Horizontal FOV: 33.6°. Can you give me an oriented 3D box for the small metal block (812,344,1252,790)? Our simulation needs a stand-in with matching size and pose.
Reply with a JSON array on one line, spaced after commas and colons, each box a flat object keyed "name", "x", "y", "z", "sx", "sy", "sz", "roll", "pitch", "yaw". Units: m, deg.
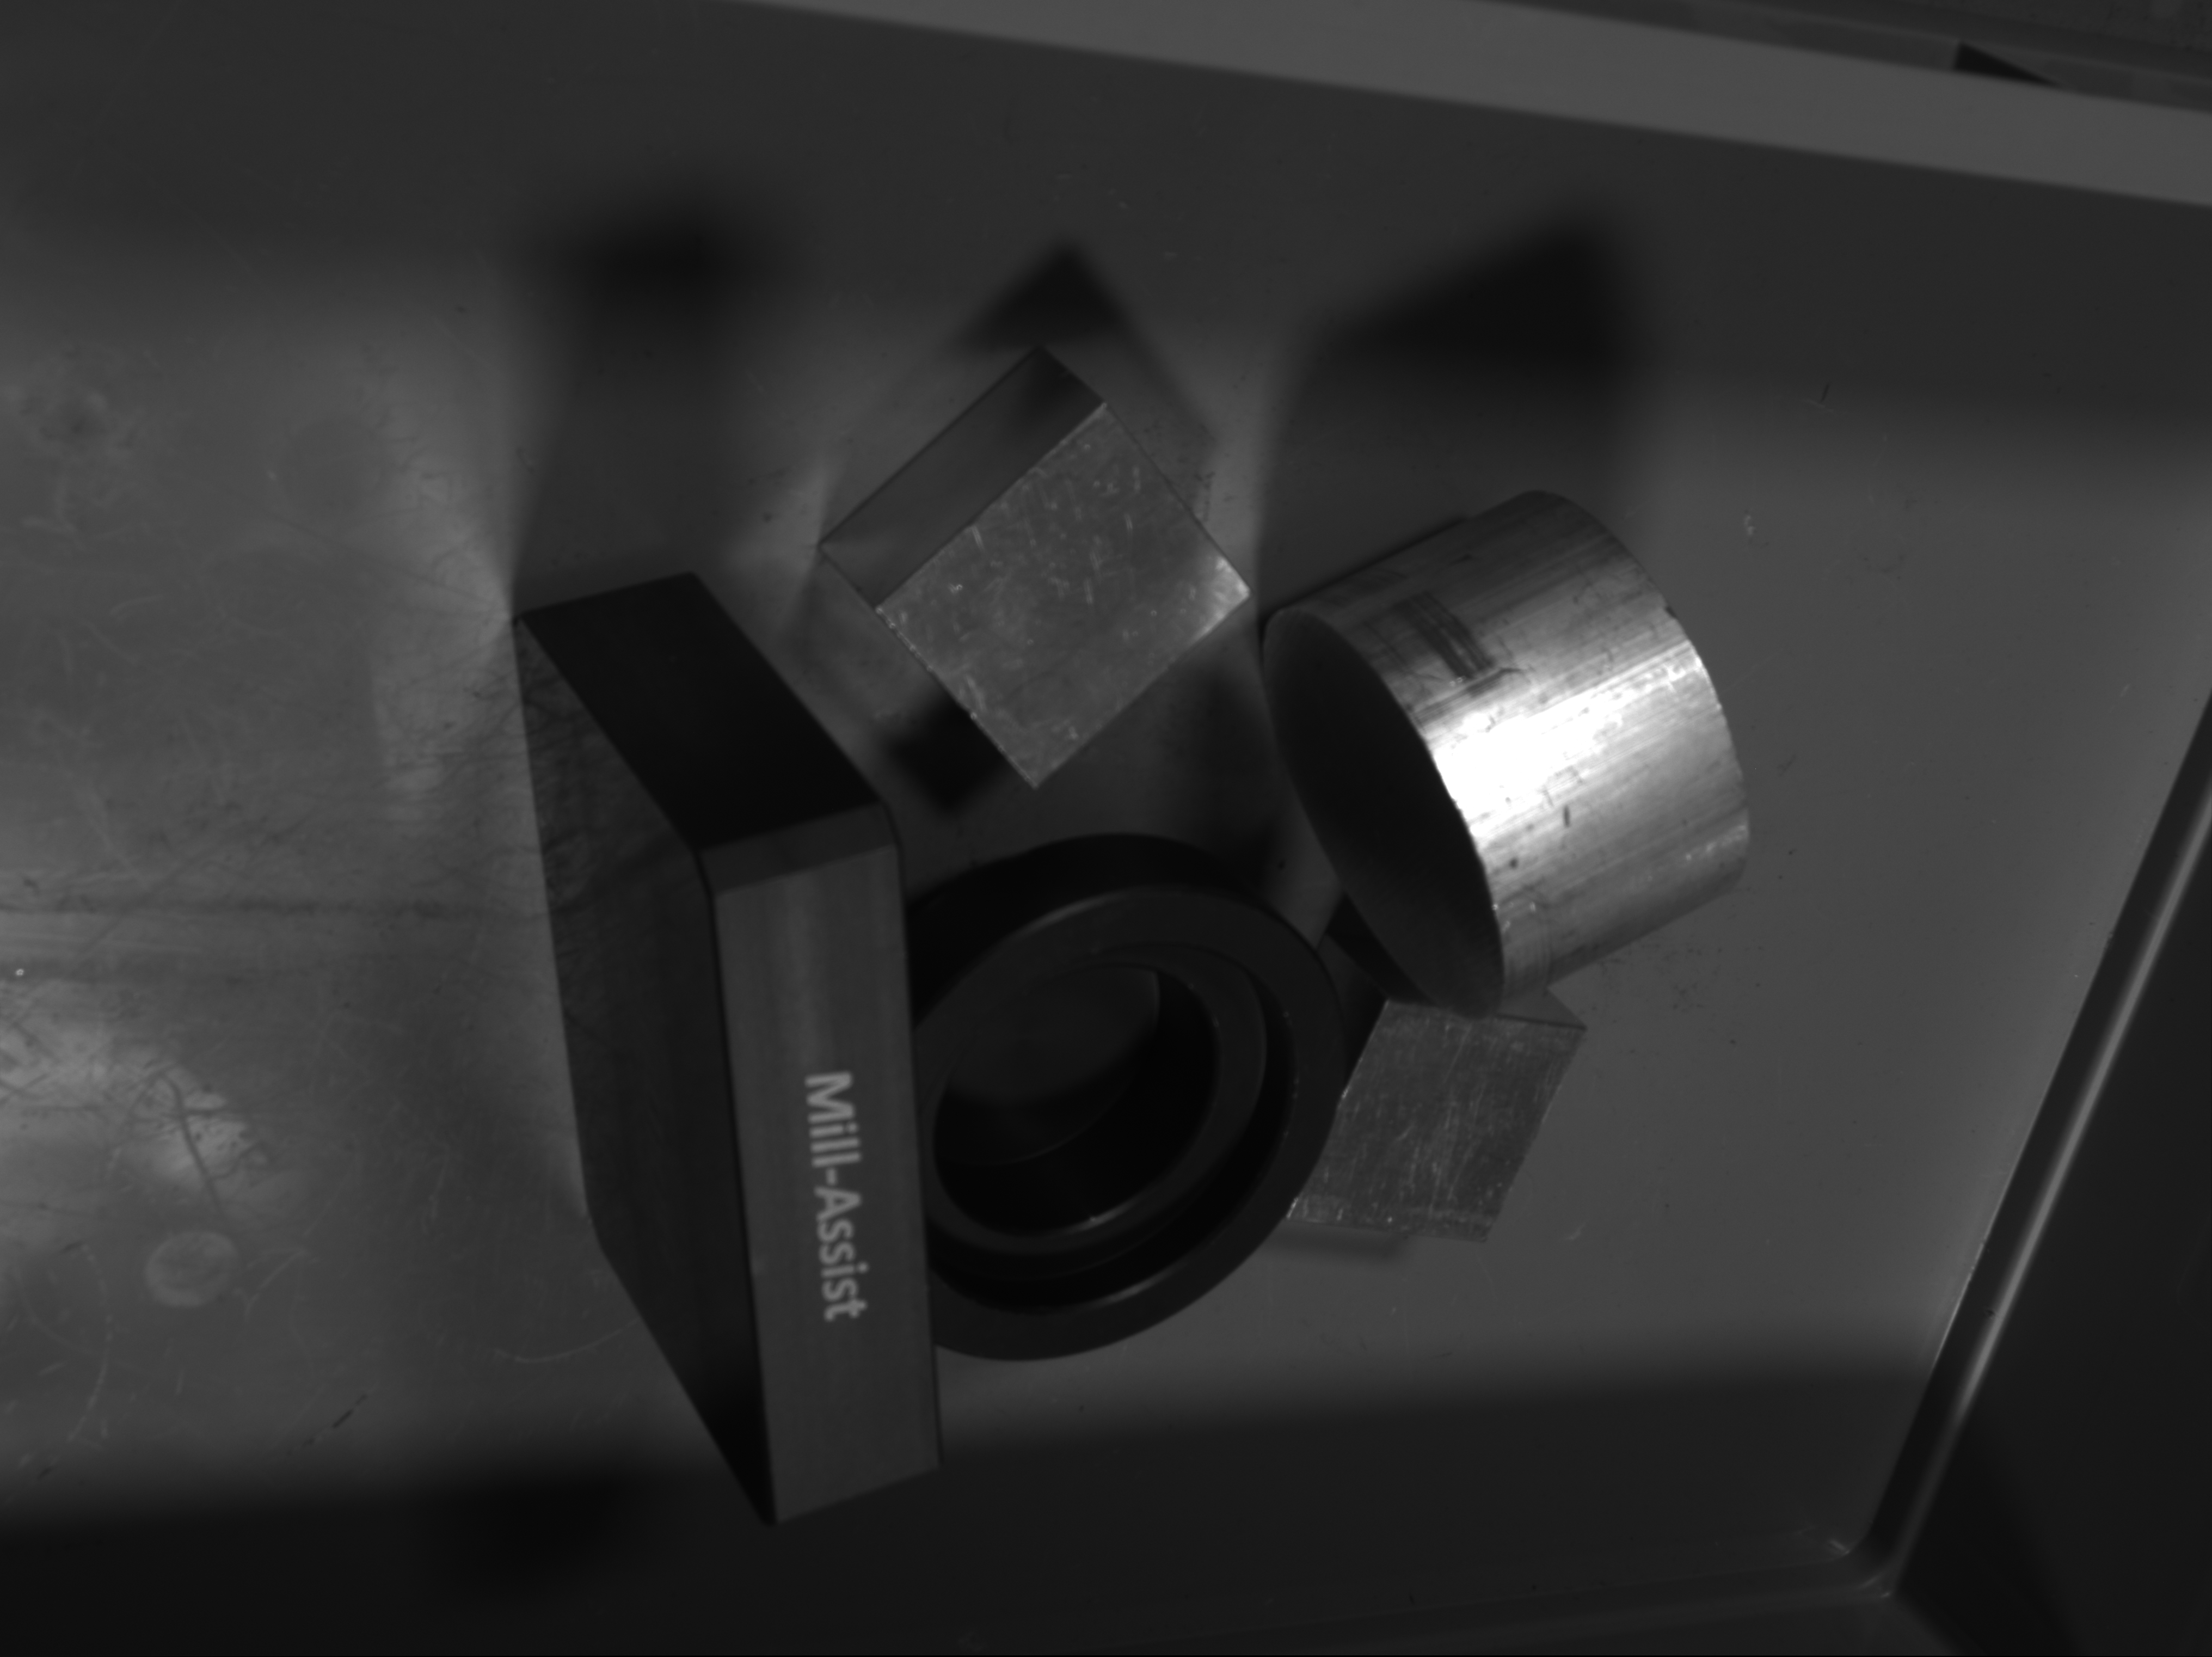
[{"name": "small metal block", "x": -0.012, "y": -0.044, "z": 0.615, "sx": 0.050, "sy": 0.025, "sz": 0.050, "roll": -42, "pitch": 129, "yaw": 0}]

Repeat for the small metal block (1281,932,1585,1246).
[{"name": "small metal block", "x": 0.058, "y": 0.051, "z": 0.715, "sx": 0.050, "sy": 0.025, "sz": 0.050, "roll": 11, "pitch": 112, "yaw": -33}]

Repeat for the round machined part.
[{"name": "round machined part", "x": -0.010, "y": 0.044, "z": 0.658, "sx": 0.098, "sy": 0.042, "sz": 0.098, "roll": -15, "pitch": 125, "yaw": -22}]

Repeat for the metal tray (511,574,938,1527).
[{"name": "metal tray", "x": -0.062, "y": 0.036, "z": 0.593, "sx": 0.030, "sy": 0.090, "sz": 0.130, "roll": -16, "pitch": 125, "yaw": -21}]

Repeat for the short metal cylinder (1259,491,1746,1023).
[{"name": "short metal cylinder", "x": 0.069, "y": -0.013, "z": 0.646, "sx": 0.050, "sy": 0.080, "sz": 0.080, "roll": -26, "pitch": 128, "yaw": -14}]
